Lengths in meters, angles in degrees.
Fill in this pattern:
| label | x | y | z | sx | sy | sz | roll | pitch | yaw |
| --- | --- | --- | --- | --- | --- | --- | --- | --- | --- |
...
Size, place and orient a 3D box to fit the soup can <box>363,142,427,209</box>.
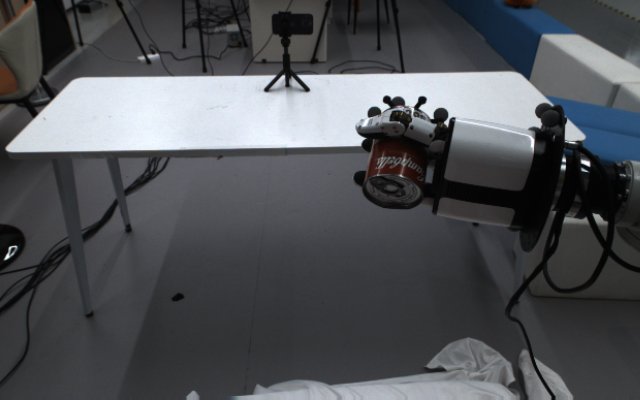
| label | x | y | z | sx | sy | sz | roll | pitch | yaw |
| --- | --- | --- | --- | --- | --- | --- | --- | --- | --- |
| soup can | 0.092 | -0.050 | 0.552 | 0.067 | 0.067 | 0.101 | 9 | 58 | 10 |
